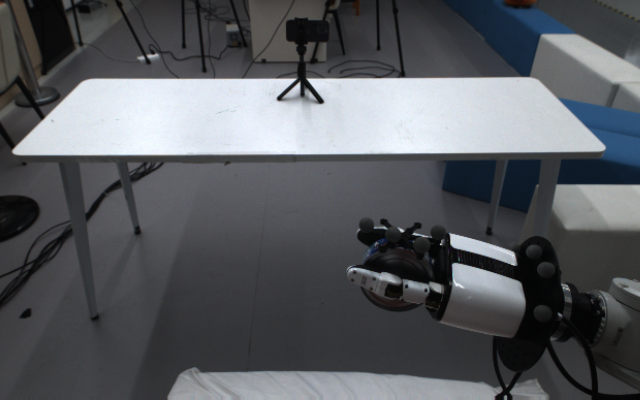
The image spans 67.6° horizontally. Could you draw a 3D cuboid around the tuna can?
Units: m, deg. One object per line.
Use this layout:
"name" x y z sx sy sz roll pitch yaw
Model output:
"tuna can" 0.092 0.085 0.566 0.085 0.085 0.034 7 22 7
